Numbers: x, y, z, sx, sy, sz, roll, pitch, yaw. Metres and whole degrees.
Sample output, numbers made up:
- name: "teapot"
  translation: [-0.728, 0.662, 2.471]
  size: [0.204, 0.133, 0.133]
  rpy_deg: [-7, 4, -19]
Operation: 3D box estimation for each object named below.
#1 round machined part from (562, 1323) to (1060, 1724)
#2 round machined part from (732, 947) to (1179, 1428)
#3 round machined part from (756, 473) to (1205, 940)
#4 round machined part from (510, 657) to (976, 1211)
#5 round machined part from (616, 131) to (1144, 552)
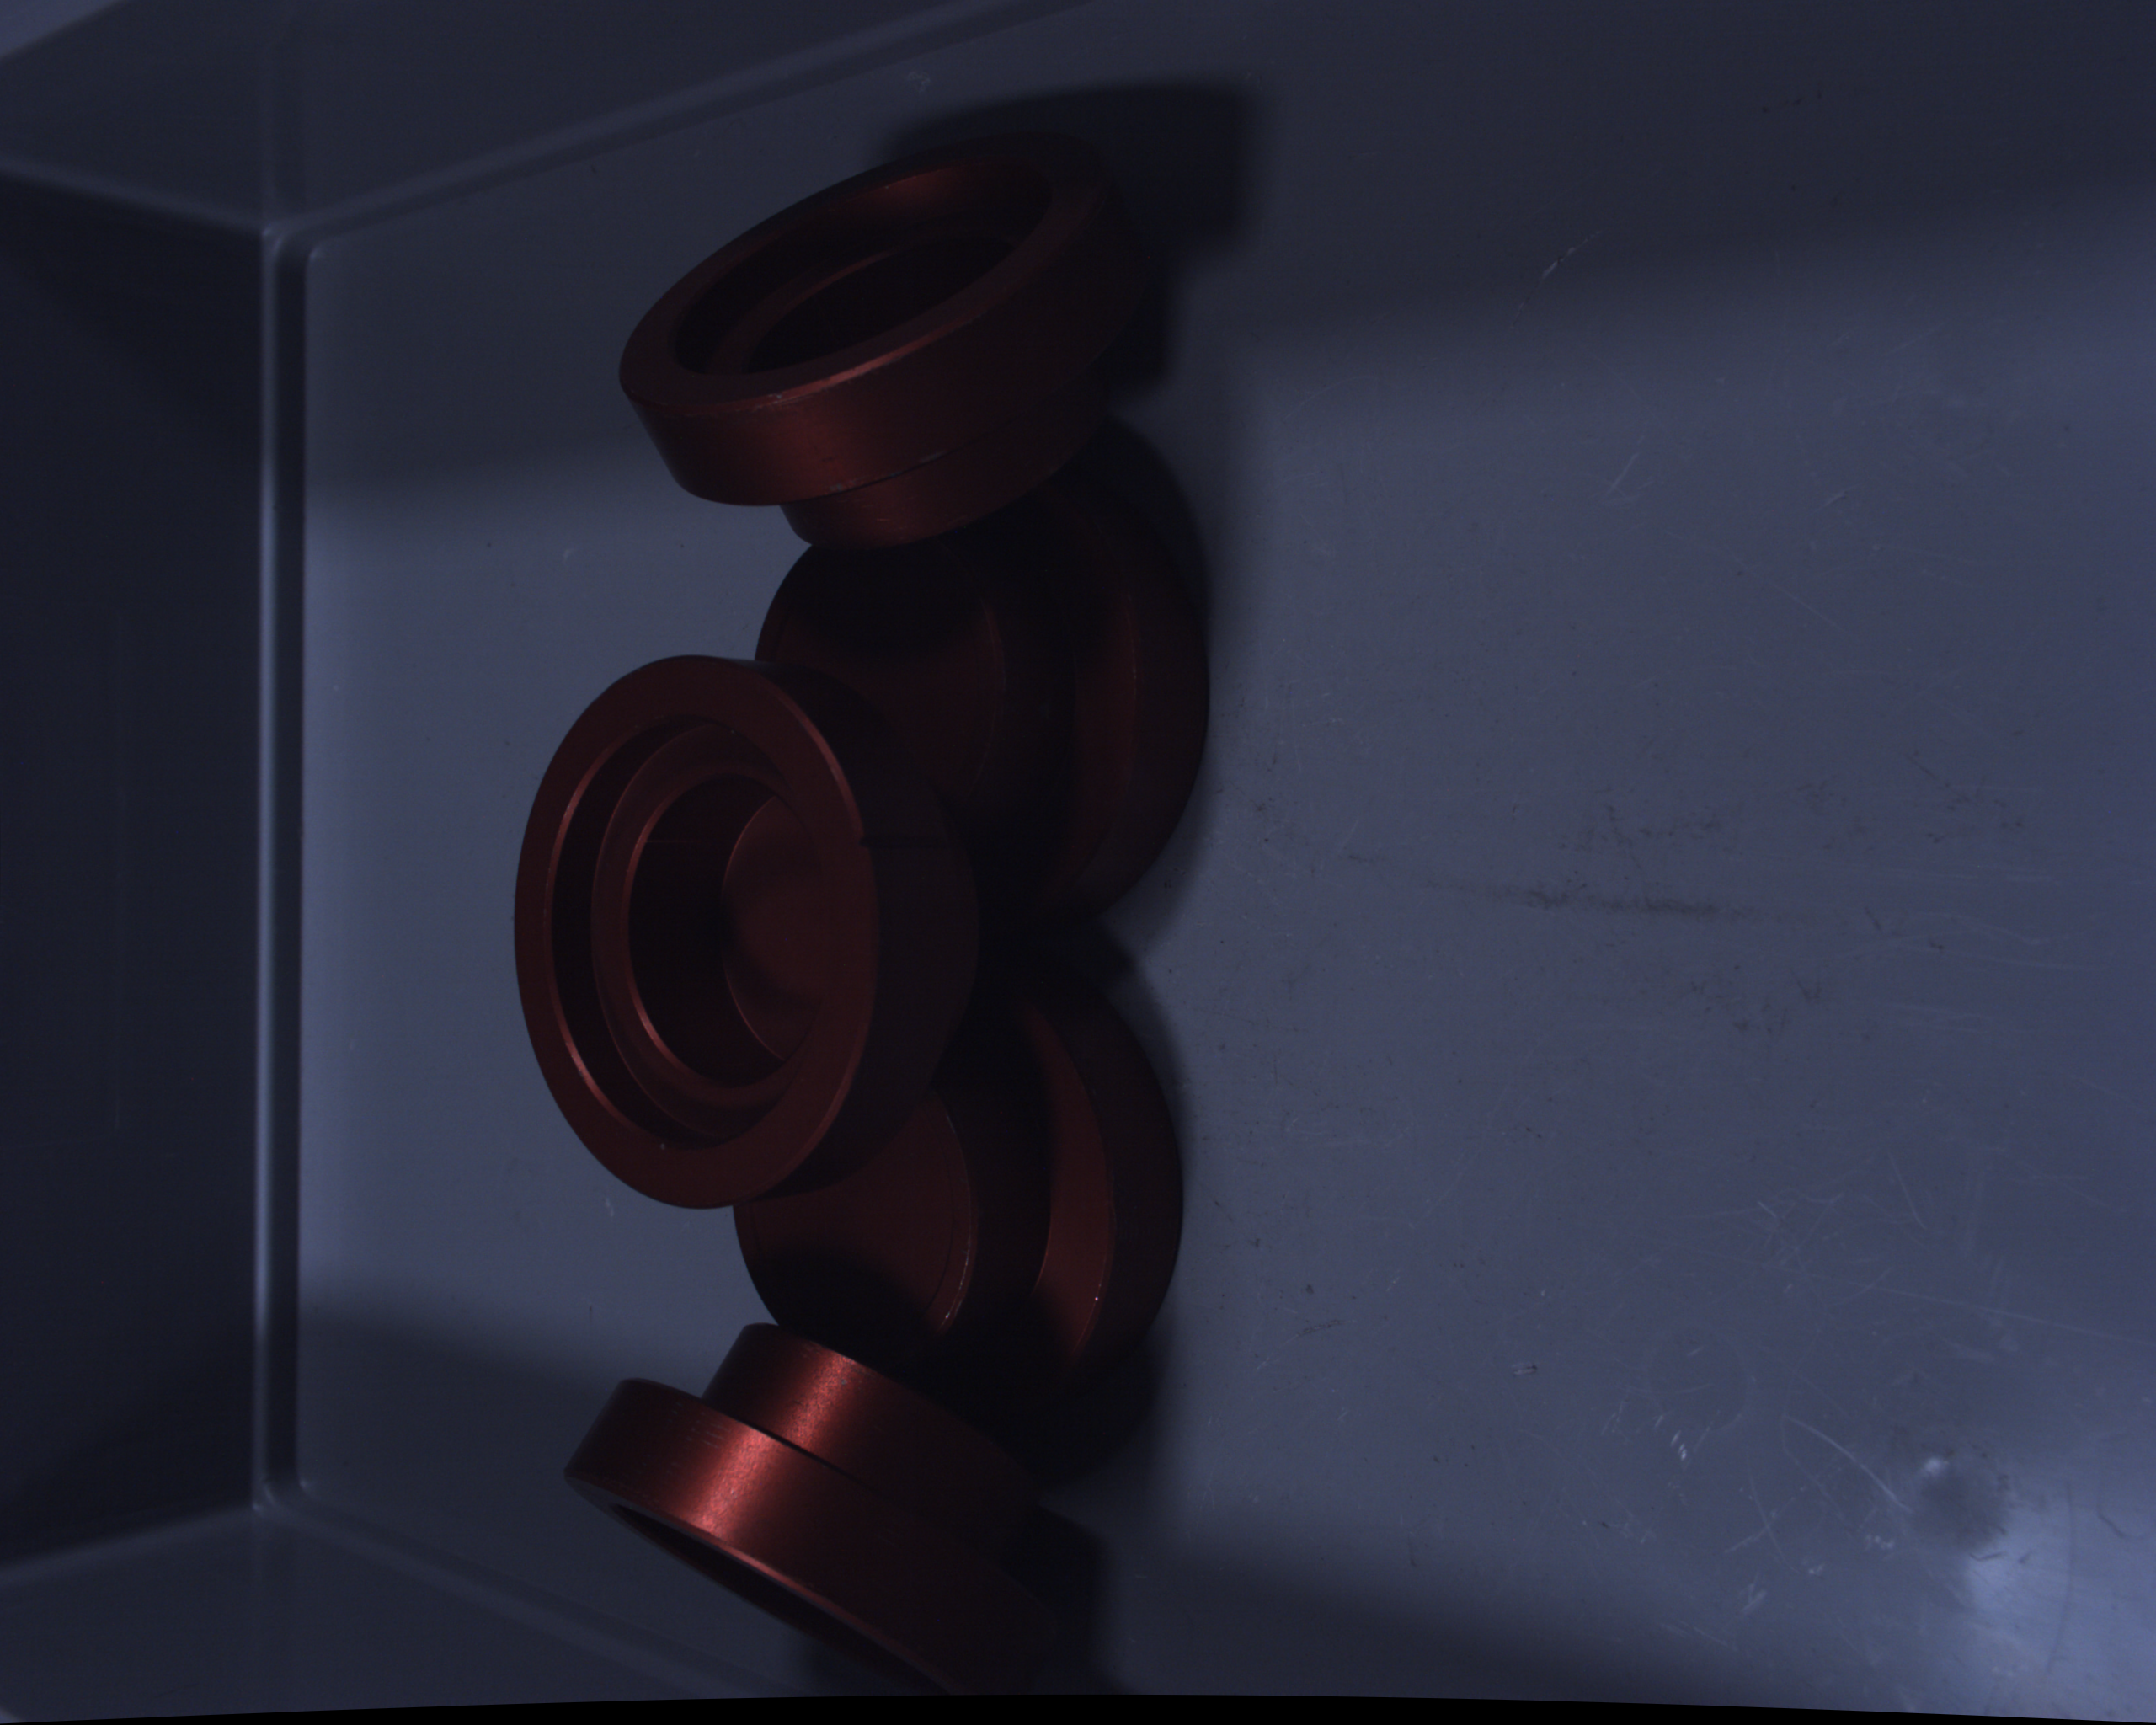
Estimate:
- name: "round machined part"
  translation: [-0.047, 0.125, 0.407]
  size: [0.098, 0.098, 0.042]
  rpy_deg: [8, 58, 39]
- name: "round machined part"
  translation: [-0.031, 0.065, 0.417]
  size: [0.098, 0.042, 0.097]
  rpy_deg: [0, 90, 39]
- name: "round machined part"
  translation: [-0.027, -0.033, 0.413]
  size: [0.098, 0.042, 0.097]
  rpy_deg: [0, 90, 39]
- name: "round machined part"
  translation: [-0.058, 0.012, 0.383]
  size: [0.098, 0.042, 0.097]
  rpy_deg: [0, 90, 39]
- name: "round machined part"
  translation: [-0.033, -0.095, 0.395]
  size: [0.098, 0.098, 0.042]
  rpy_deg: [9, 138, 39]
